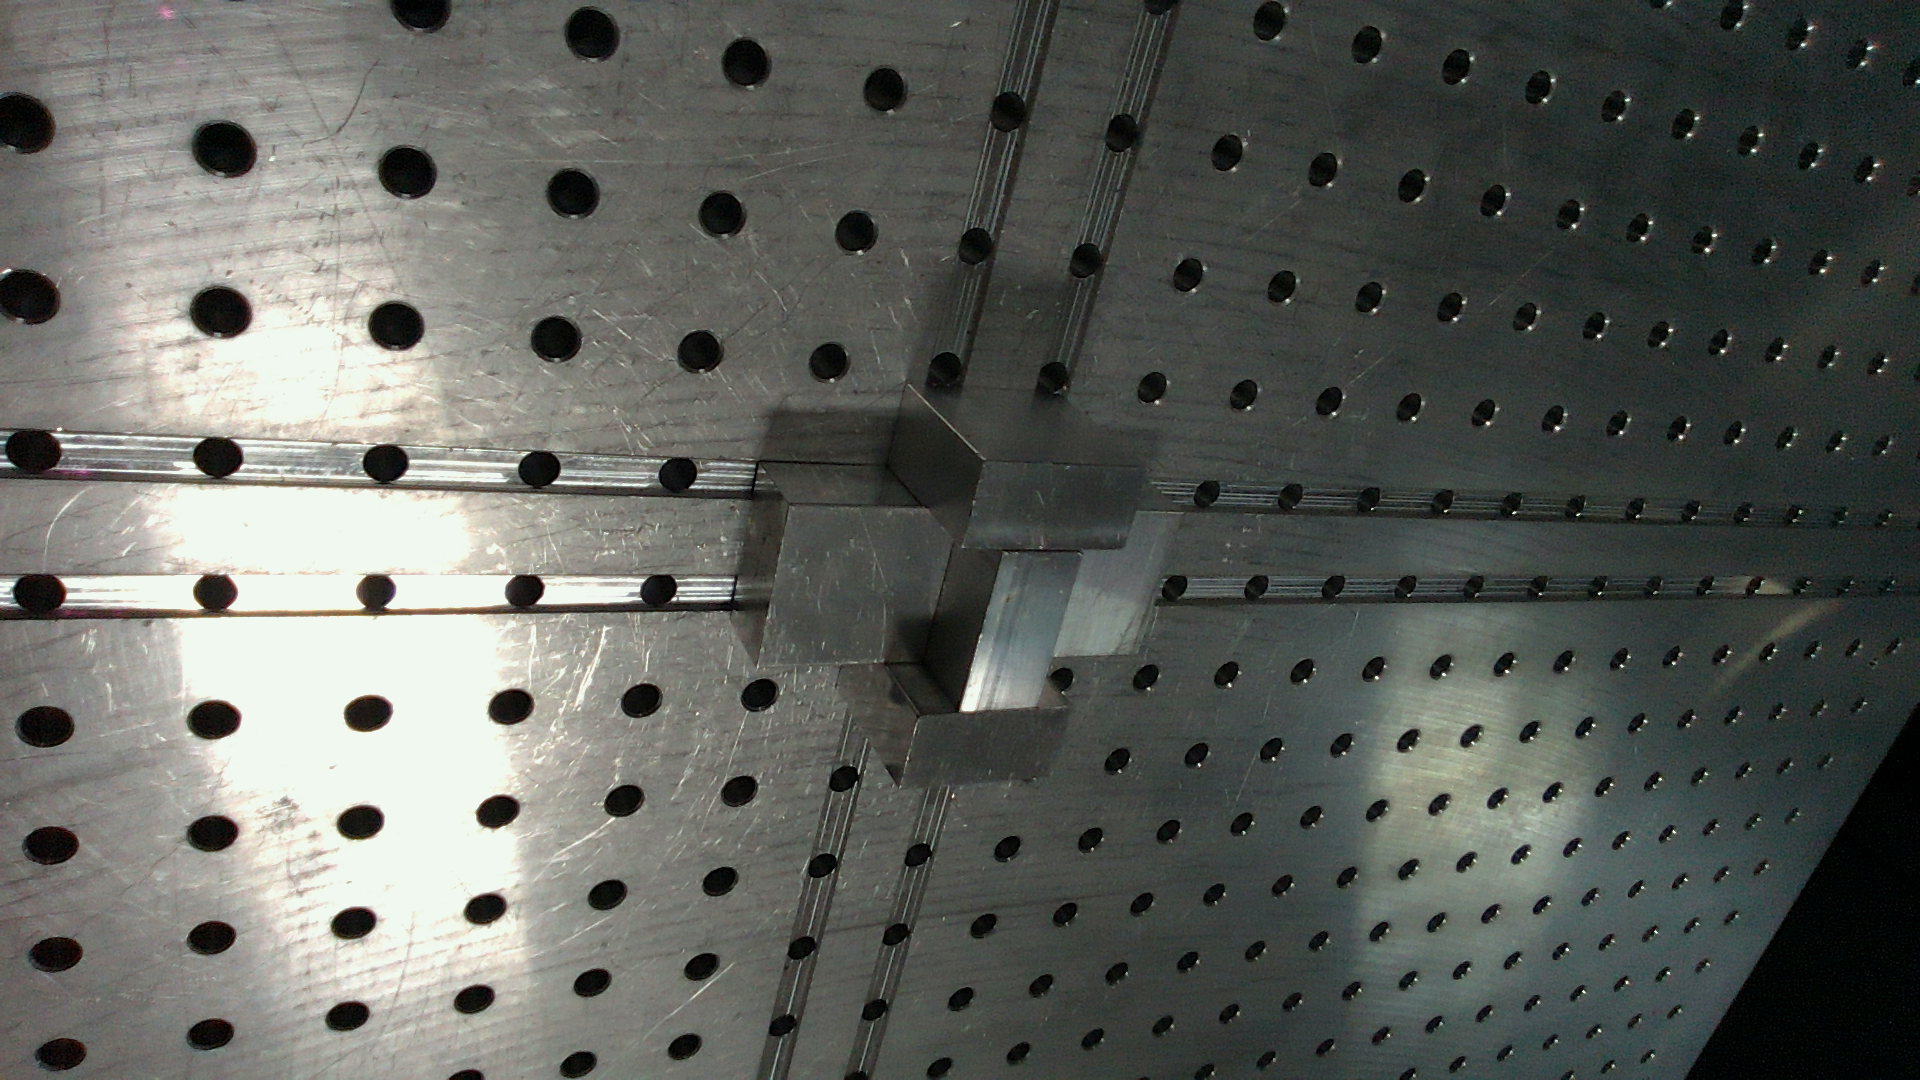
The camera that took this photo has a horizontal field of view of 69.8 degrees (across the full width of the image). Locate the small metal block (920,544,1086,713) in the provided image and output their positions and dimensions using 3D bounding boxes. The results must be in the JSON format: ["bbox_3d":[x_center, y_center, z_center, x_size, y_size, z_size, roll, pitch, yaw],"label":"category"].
[{"bbox_3d":[0.006,0.013,0.387,0.025,0.050,0.050,1,118,-29],"label":"small metal block"}]

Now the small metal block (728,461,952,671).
[{"bbox_3d":[-0.032,0.007,0.379,0.050,0.025,0.050,0,118,-29],"label":"small metal block"}]

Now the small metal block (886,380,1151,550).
[{"bbox_3d":[0.015,-0.020,0.371,0.050,0.050,0.025,1,118,-29],"label":"small metal block"}]

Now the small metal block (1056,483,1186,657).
[{"bbox_3d":[0.034,0.007,0.415,0.050,0.025,0.050,1,118,-29],"label":"small metal block"}]

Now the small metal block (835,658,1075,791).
[{"bbox_3d":[-0.003,0.046,0.403,0.050,0.050,0.025,1,118,-29],"label":"small metal block"}]
